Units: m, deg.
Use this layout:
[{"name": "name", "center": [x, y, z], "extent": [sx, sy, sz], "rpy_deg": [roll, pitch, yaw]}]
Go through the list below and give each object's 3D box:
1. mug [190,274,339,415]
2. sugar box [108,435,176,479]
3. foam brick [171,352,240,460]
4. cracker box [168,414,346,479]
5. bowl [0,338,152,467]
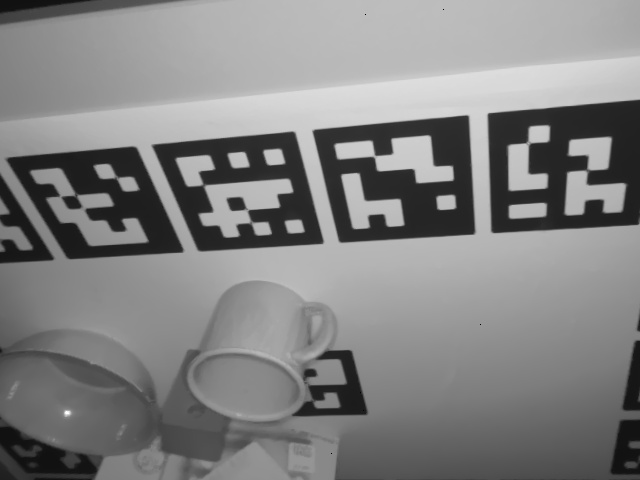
[{"name": "mug", "center": [-0.040, 0.079, 0.553], "extent": [0.116, 0.082, 0.093], "rpy_deg": [-14, 135, 16]}, {"name": "sugar box", "center": [-0.174, 0.280, 0.680], "extent": [0.093, 0.178, 0.045], "rpy_deg": [11, 131, -2]}, {"name": "foam brick", "center": [-0.100, 0.150, 0.634], "extent": [0.053, 0.079, 0.051], "rpy_deg": [6, 131, 1]}, {"name": "cracker box", "center": [-0.071, 0.271, 0.638], "extent": [0.165, 0.216, 0.071], "rpy_deg": [18, 132, -7]}, {"name": "bowl", "center": [-0.226, 0.140, 0.635], "extent": [0.161, 0.056, 0.160], "rpy_deg": [3, 129, 4]}]
